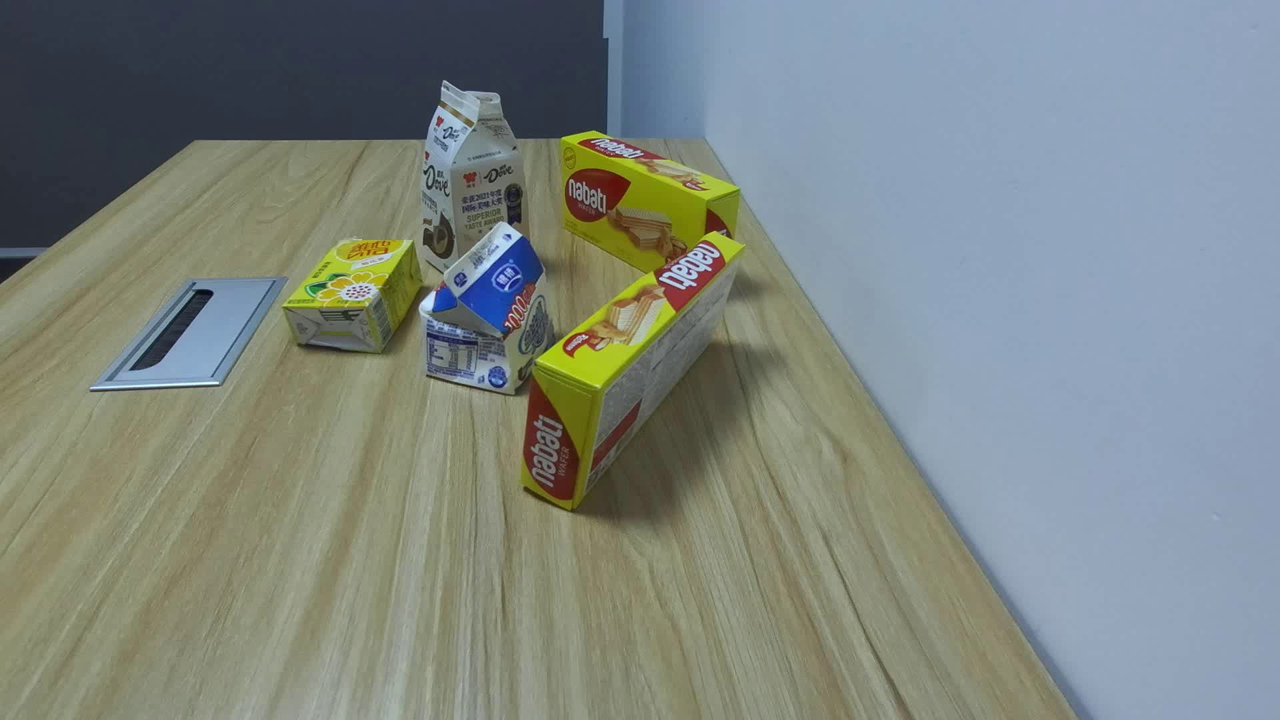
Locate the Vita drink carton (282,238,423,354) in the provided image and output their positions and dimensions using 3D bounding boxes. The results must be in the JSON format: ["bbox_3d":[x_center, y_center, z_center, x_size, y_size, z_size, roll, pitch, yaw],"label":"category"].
[{"bbox_3d":[-0.224,-0.053,0.552,0.076,0.043,0.108,0,35,3],"label":"Vita drink carton"}]

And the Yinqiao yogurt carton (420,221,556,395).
[{"bbox_3d":[-0.106,-0.042,0.497,0.077,0.093,0.083,12,36,14],"label":"Yinqiao yogurt carton"}]

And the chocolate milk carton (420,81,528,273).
[{"bbox_3d":[-0.145,-0.153,0.603,0.073,0.155,0.084,-24,42,-33],"label":"chocolate milk carton"}]

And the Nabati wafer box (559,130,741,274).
[{"bbox_3d":[0.002,-0.135,0.640,0.042,0.093,0.202,-23,41,-34],"label":"Nabati wafer box"}]

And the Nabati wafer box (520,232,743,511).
[{"bbox_3d":[0.001,-0.005,0.445,0.042,0.096,0.204,26,41,16],"label":"Nabati wafer box"}]
